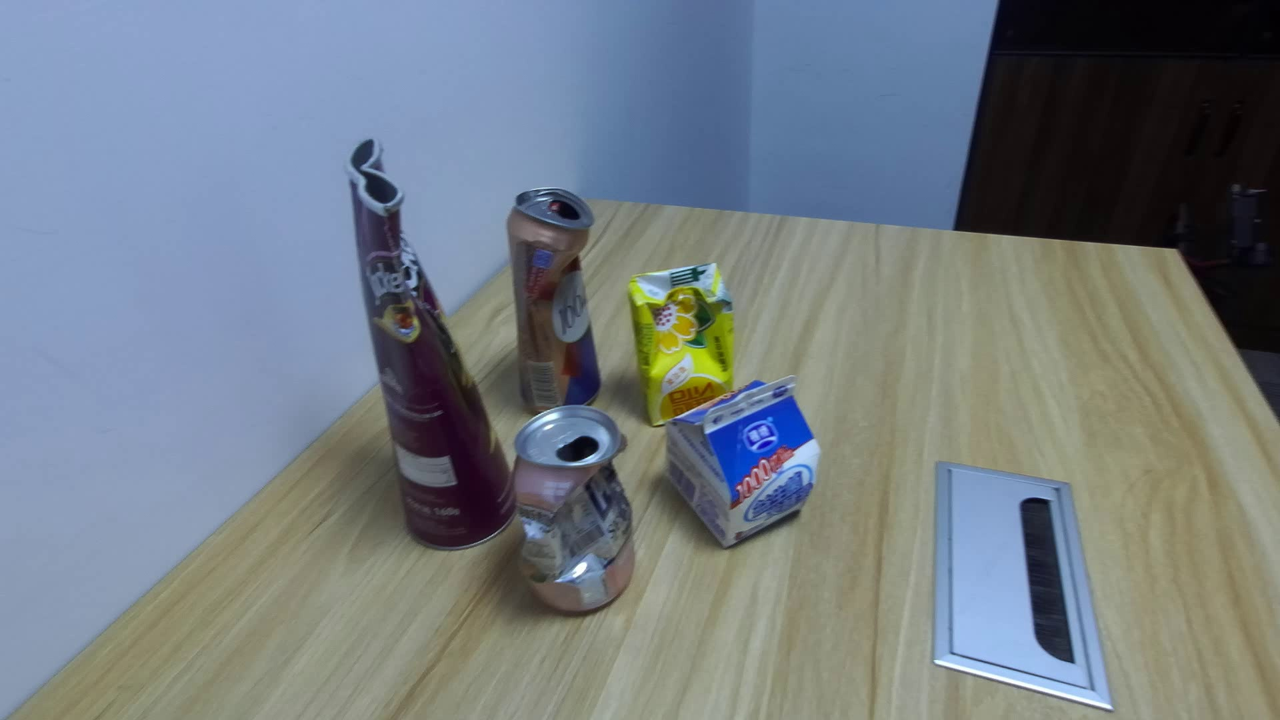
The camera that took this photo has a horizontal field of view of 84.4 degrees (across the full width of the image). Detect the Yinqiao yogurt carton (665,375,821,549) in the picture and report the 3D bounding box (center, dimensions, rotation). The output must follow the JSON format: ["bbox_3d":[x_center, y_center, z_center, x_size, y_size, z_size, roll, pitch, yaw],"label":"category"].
[{"bbox_3d":[0.066,0.053,0.434,0.075,0.097,0.080,-22,46,-23],"label":"Yinqiao yogurt carton"}]

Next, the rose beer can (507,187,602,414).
[{"bbox_3d":[-0.065,-0.040,0.527,0.070,0.168,0.069,-19,37,-28],"label":"rose beer can"}]

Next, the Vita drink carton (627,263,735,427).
[{"bbox_3d":[0.033,-0.009,0.518,0.071,0.110,0.046,-9,31,-6],"label":"Vita drink carton"}]

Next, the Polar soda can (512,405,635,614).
[{"bbox_3d":[-0.036,0.082,0.393,0.070,0.114,0.074,-11,38,-19],"label":"Polar soda can"}]

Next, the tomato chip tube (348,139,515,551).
[{"bbox_3d":[-0.124,0.003,0.407,0.077,0.236,0.090,10,34,17],"label":"tomato chip tube"}]
